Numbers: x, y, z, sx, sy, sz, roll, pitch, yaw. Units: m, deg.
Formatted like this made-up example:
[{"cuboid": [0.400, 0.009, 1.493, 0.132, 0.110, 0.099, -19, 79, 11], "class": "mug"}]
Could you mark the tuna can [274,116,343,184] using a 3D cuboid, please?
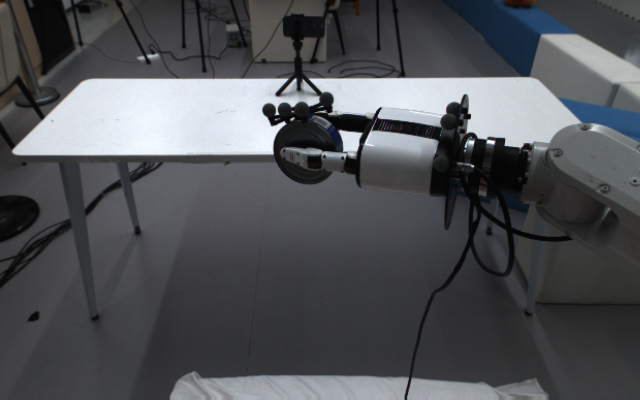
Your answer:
[{"cuboid": [-0.012, -0.061, 0.619, 0.085, 0.085, 0.034, 13, 29, 15], "class": "tuna can"}]
